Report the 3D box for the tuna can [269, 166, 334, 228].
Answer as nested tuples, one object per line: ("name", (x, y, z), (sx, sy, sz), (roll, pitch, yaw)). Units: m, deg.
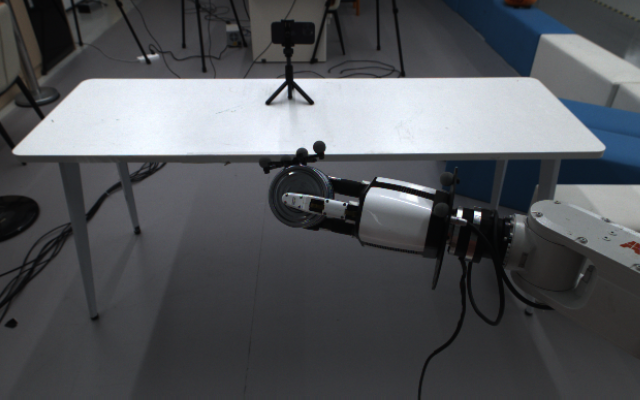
("tuna can", (-0.022, 0.001, 0.652), (0.085, 0.085, 0.034), (12, 3, 14))
